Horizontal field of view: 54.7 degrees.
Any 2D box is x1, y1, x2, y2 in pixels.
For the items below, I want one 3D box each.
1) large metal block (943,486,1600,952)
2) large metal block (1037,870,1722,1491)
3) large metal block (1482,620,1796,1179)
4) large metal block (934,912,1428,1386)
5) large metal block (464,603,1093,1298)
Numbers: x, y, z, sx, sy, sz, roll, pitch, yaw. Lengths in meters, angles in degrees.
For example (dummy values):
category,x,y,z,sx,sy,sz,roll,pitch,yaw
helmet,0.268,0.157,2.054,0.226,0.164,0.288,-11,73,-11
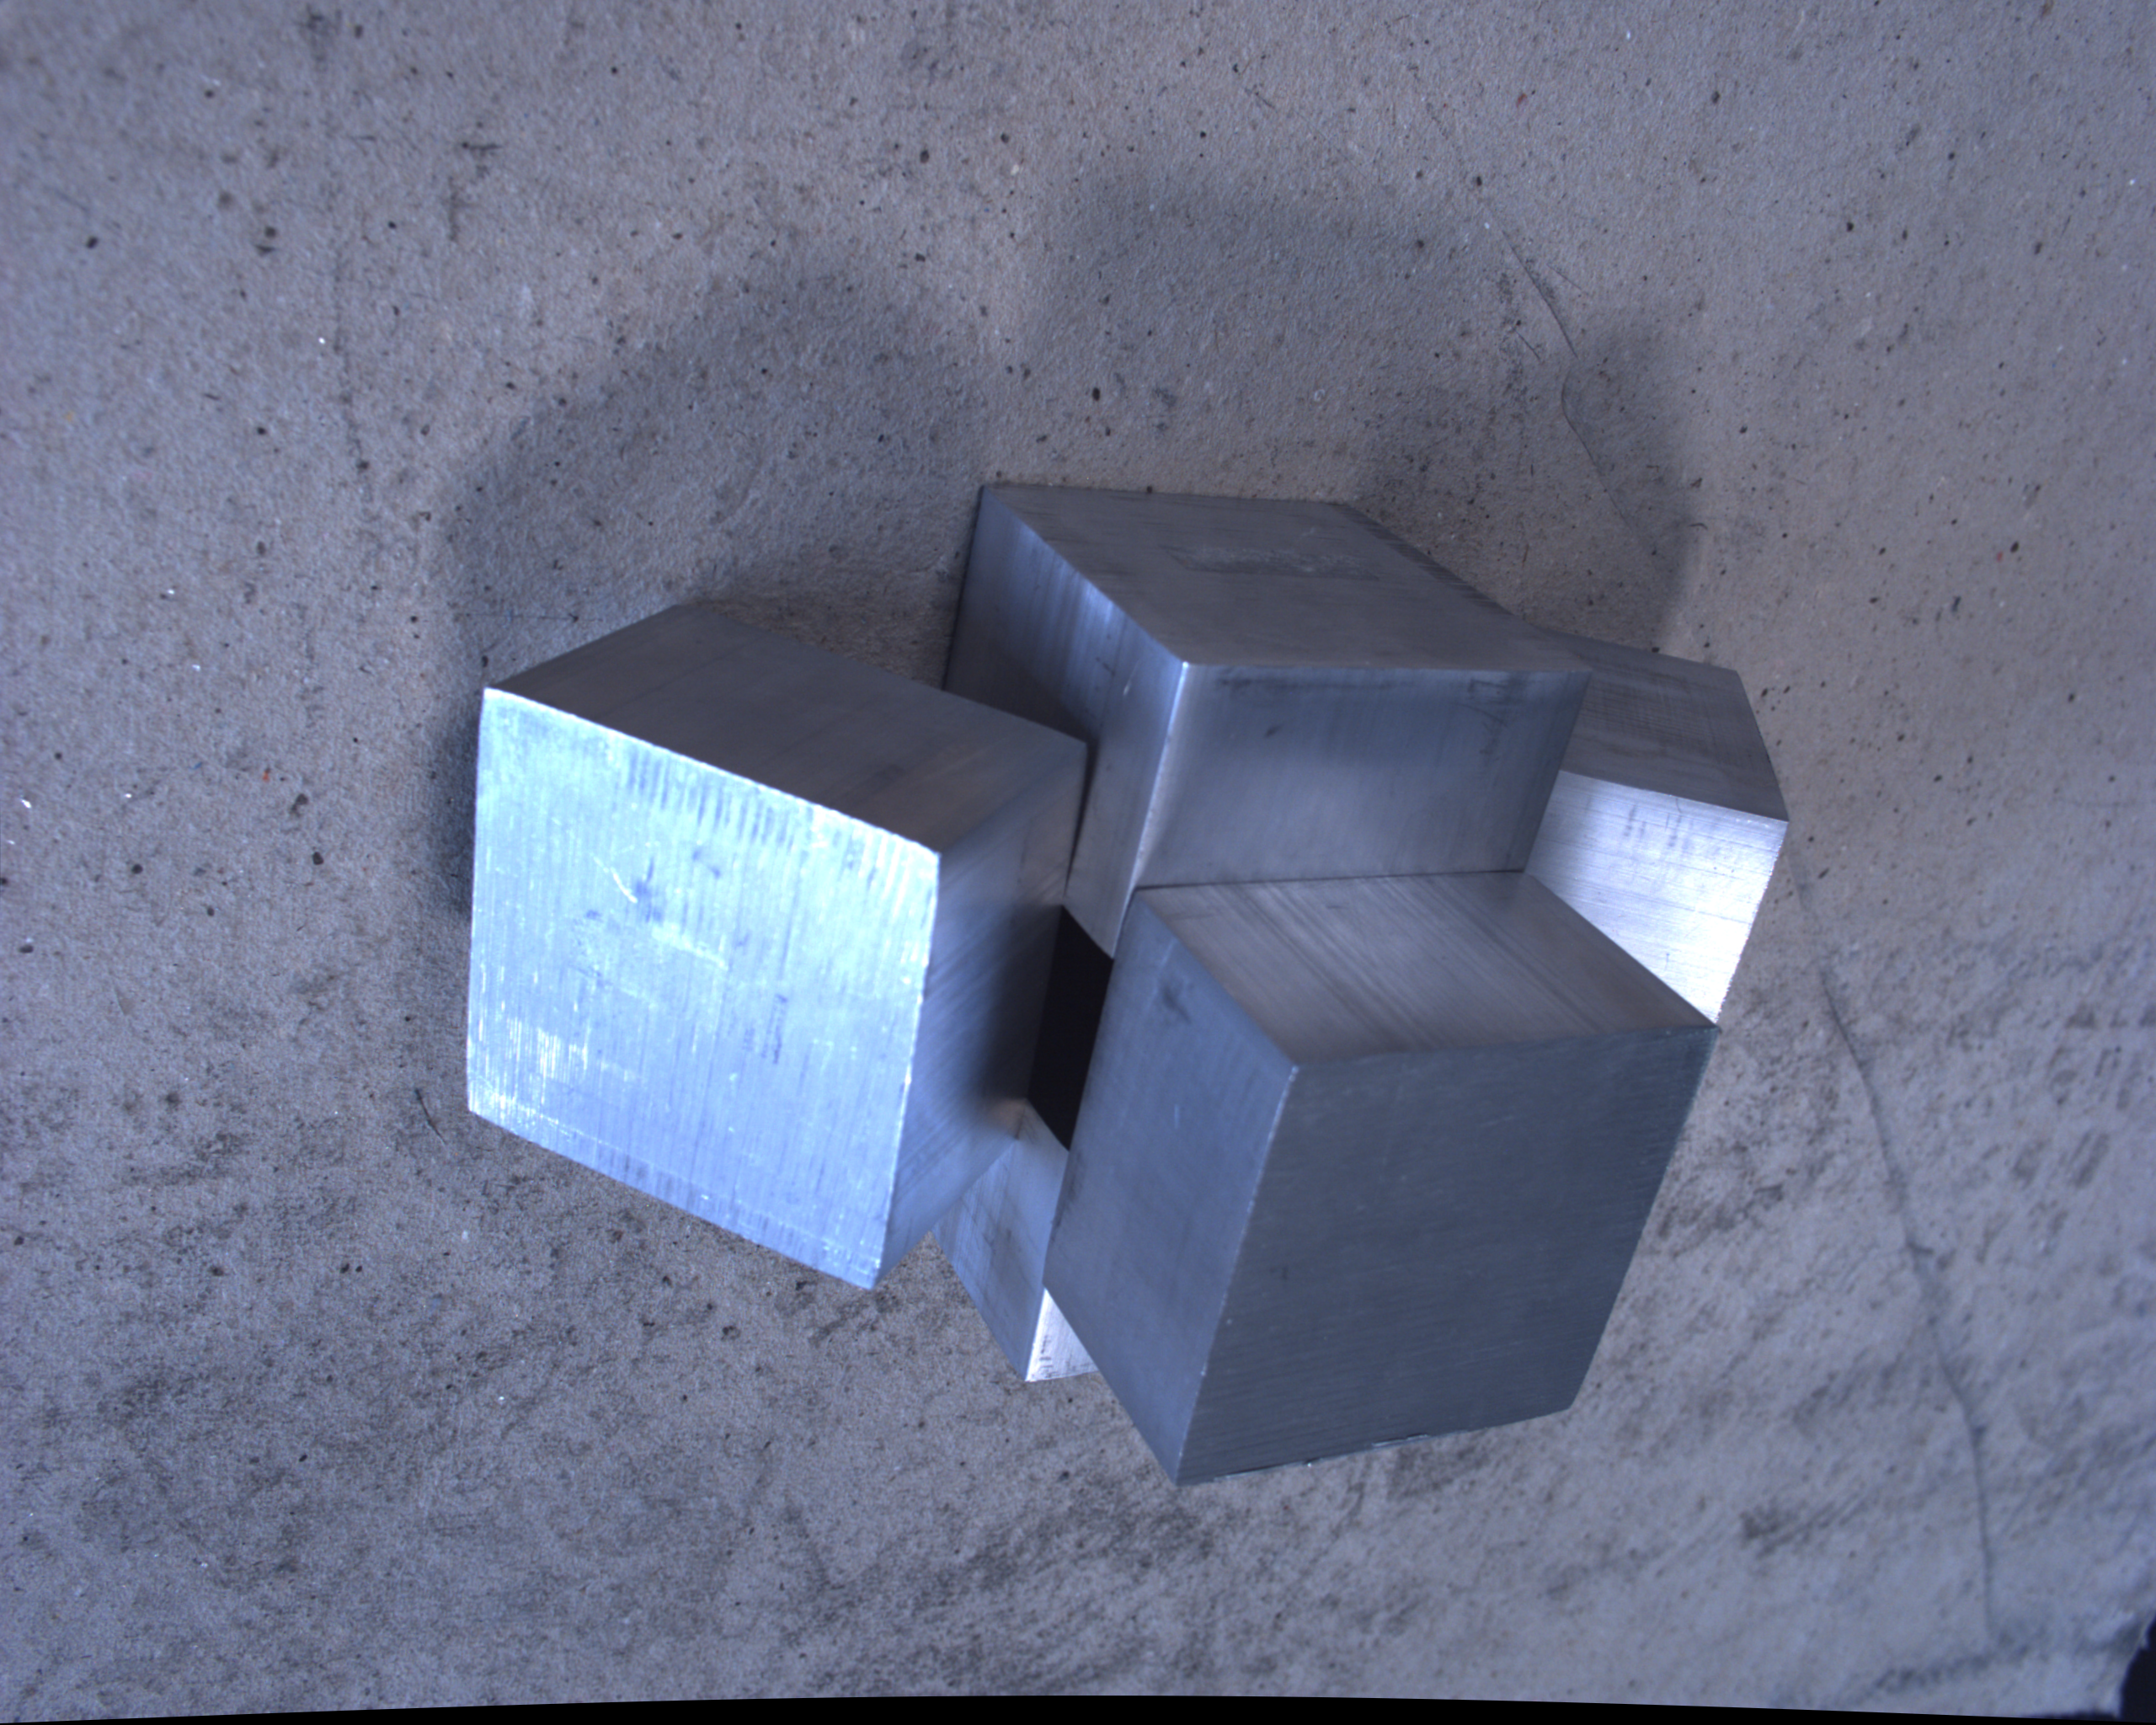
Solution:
category,x,y,z,sx,sy,sz,roll,pitch,yaw
large metal block,0.030,-0.028,0.372,0.081,0.080,0.050,-3,120,-28
large metal block,0.047,0.049,0.344,0.081,0.050,0.079,-2,119,-27
large metal block,0.101,0.005,0.421,0.050,0.080,0.079,13,117,4
large metal block,0.012,0.051,0.413,0.081,0.080,0.050,-4,120,-26
large metal block,-0.051,0.012,0.343,0.050,0.080,0.079,-40,145,-57
